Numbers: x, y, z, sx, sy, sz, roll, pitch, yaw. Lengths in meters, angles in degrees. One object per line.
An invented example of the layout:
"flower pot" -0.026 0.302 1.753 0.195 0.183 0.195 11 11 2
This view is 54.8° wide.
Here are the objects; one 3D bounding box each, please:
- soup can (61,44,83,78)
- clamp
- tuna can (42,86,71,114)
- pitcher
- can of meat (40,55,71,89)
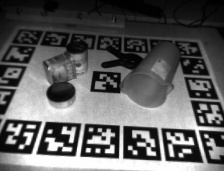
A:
"soup can" -0.140 -0.085 0.761 0.068 0.102 0.067 1 51 0
"clamp" 0.017 -0.093 0.836 0.165 0.037 0.121 7 45 -3
"tuna can" -0.175 0.046 0.686 0.086 0.034 0.085 3 51 -2
"pitcher" 0.128 -0.043 0.722 0.186 0.134 0.243 4 37 29
"can of meat" -0.189 -0.040 0.711 0.084 0.102 0.057 -28 57 -21
